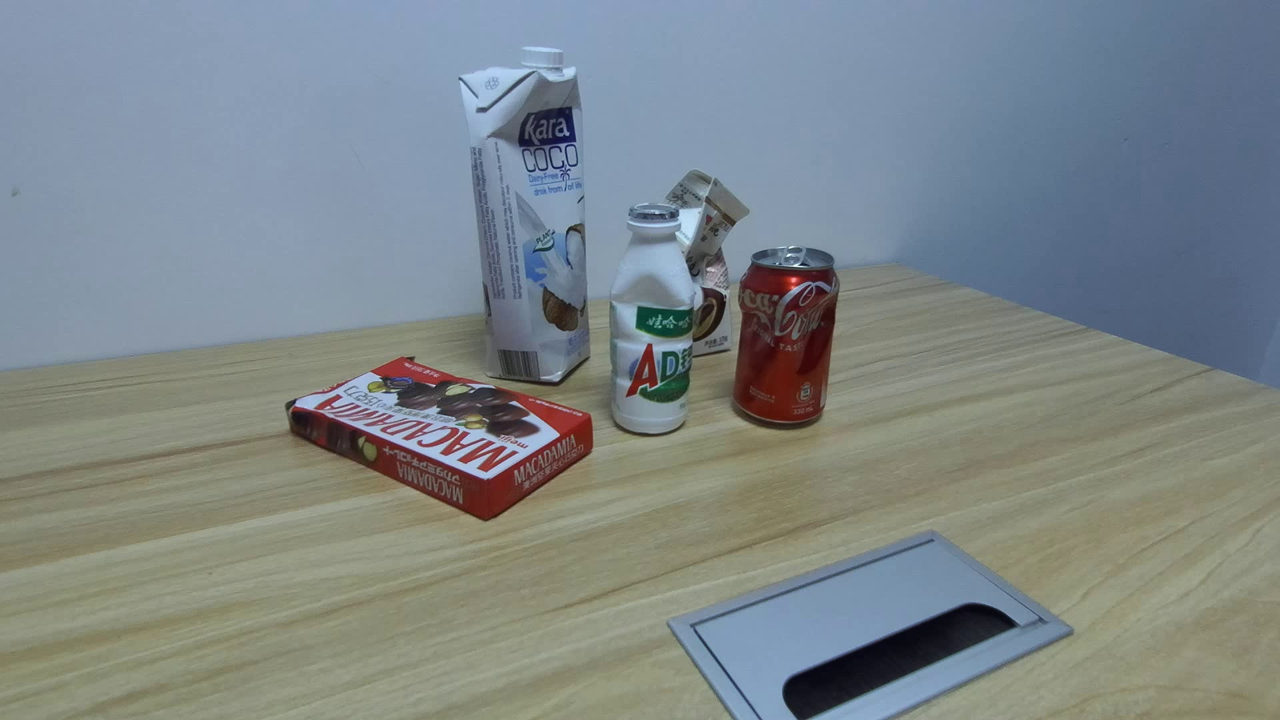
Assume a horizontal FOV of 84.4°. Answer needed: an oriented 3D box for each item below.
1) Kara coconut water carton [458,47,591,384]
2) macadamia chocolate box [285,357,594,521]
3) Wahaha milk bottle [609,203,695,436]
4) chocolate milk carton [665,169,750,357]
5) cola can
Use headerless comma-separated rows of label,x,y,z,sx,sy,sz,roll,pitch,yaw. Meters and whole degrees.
Kara coconut water carton,-0.082,-0.106,0.535,0.069,0.238,0.115,7,20,18
macadamia chocolate box,-0.131,0.041,0.459,0.182,0.028,0.106,14,26,30
Wahaha milk bottle,0.007,-0.025,0.460,0.056,0.147,0.056,3,22,-1
chocolate milk carton,0.044,-0.080,0.598,0.090,0.155,0.076,2,26,-32
cola can,0.100,-0.017,0.486,0.066,0.117,0.066,-11,24,-29
